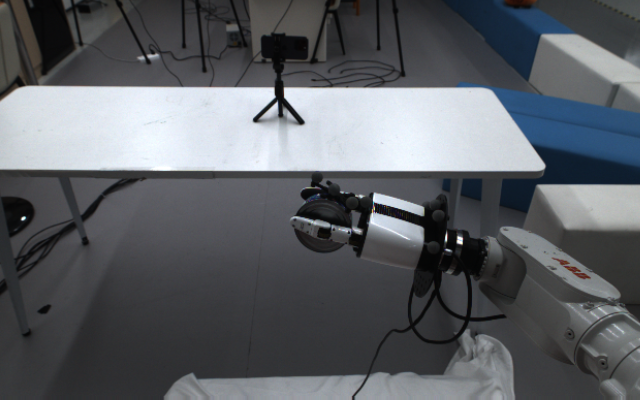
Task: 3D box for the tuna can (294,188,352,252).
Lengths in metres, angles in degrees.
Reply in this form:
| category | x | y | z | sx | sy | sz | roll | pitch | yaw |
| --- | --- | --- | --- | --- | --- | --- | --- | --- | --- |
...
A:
| category | x | y | z | sx | sy | sz | roll | pitch | yaw |
| --- | --- | --- | --- | --- | --- | --- | --- | --- | --- |
| tuna can | 0.008 | 0.033 | 0.723 | 0.085 | 0.085 | 0.034 | 7 | 17 | 7 |
